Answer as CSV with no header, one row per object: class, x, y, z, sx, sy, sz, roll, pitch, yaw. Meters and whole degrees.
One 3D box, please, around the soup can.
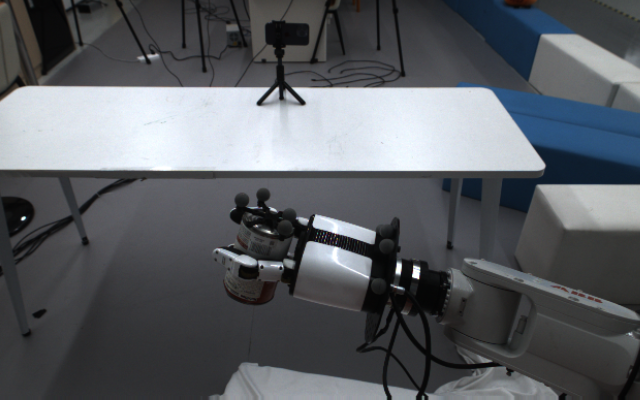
soup can,-0.075,0.071,0.604,0.067,0.101,0.067,17,21,-7
